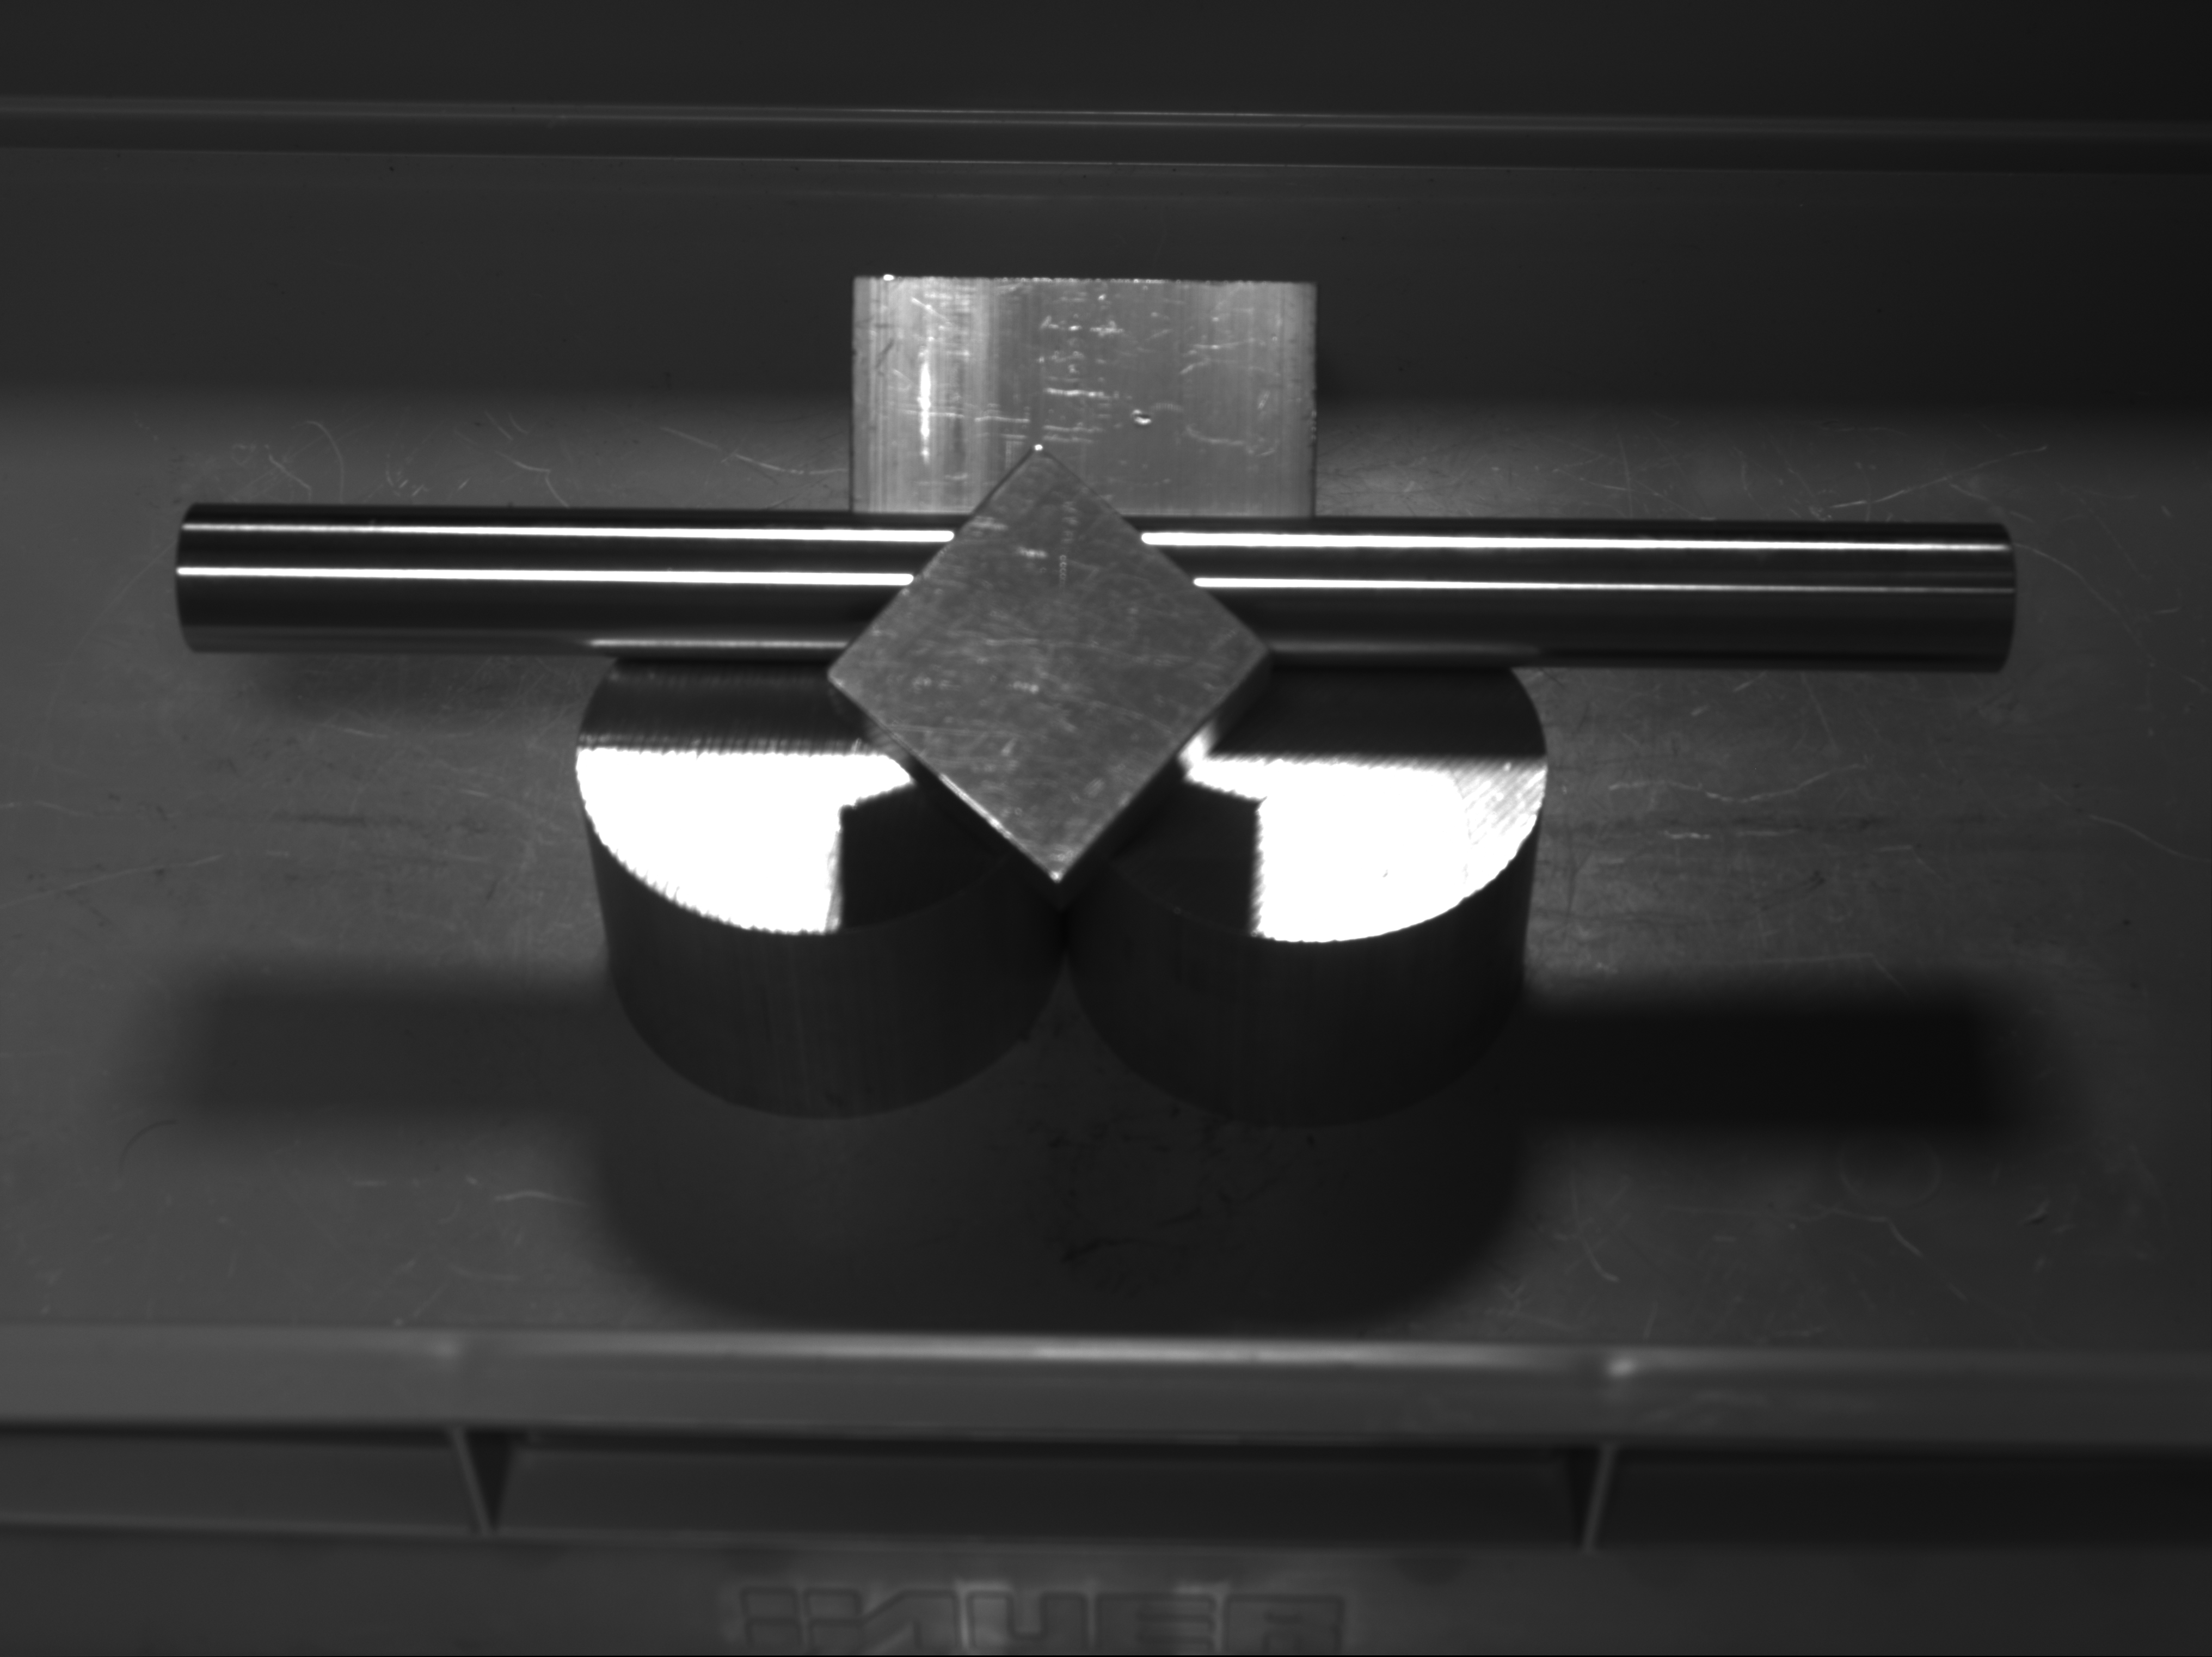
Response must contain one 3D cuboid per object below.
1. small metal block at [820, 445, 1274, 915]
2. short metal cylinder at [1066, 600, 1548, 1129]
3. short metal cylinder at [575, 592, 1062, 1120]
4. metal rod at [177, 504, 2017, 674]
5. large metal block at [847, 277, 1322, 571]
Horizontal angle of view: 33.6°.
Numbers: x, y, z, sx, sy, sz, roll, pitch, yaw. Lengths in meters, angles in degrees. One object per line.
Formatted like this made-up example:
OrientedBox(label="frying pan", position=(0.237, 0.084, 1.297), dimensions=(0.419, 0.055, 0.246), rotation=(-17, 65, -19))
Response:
OrientedBox(label="small metal block", position=(-0.009, -0.023, 0.581), dimensions=(0.050, 0.025, 0.050), rotation=(41, 81, 8))
OrientedBox(label="short metal cylinder", position=(0.033, 0.004, 0.622), dimensions=(0.080, 0.050, 0.080), rotation=(0, 50, 0))
OrientedBox(label="short metal cylinder", position=(-0.047, 0.002, 0.623), dimensions=(0.080, 0.050, 0.080), rotation=(0, 50, 0))
OrientedBox(label="metal rod", position=(-0.002, -0.040, 0.609), dimensions=(0.300, 0.025, 0.025), rotation=(1, 50, 0))
OrientedBox(label="large metal block", position=(-0.003, -0.072, 0.658), dimensions=(0.080, 0.050, 0.080), rotation=(1, 6, 1))
